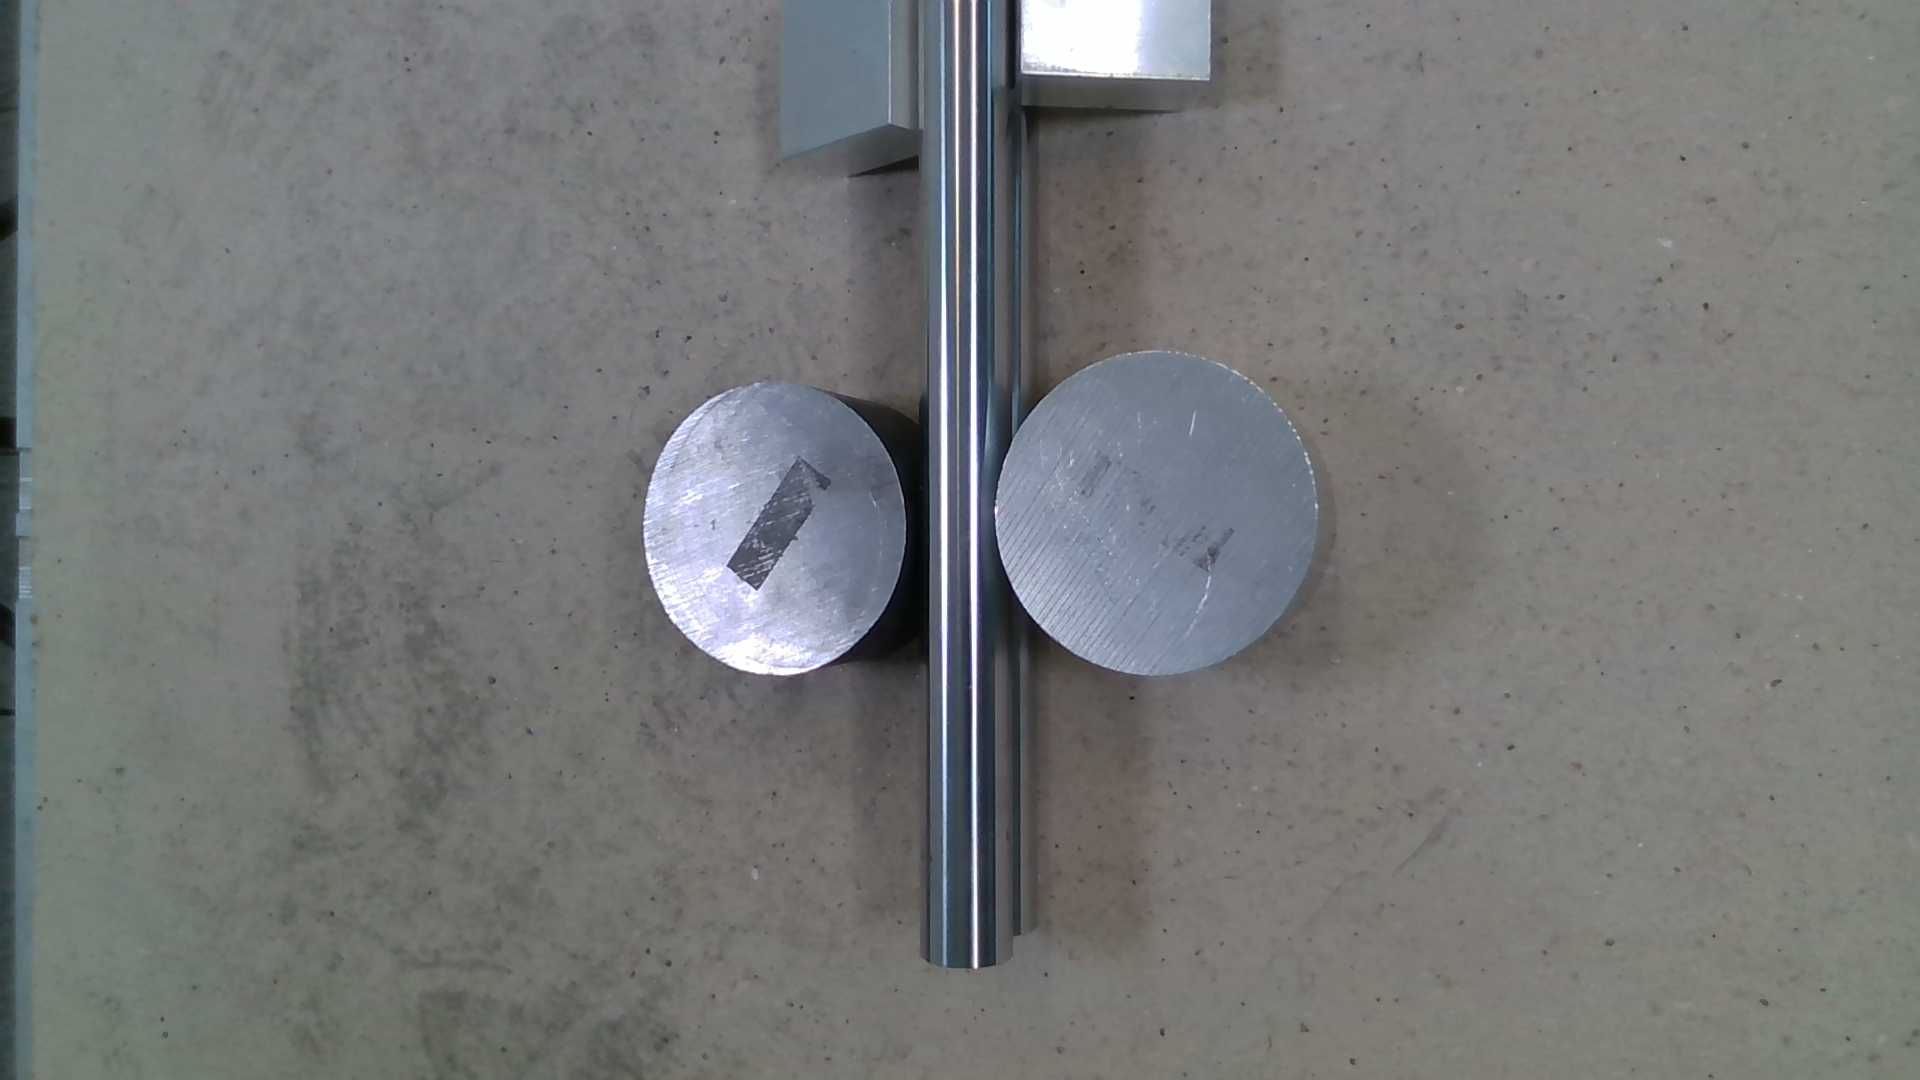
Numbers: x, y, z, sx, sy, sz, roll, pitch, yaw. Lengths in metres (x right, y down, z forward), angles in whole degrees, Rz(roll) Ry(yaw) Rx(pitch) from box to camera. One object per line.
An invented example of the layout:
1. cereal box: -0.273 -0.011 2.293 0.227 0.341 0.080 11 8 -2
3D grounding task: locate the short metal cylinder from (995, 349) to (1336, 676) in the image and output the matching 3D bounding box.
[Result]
1. short metal cylinder: 0.055 -0.007 0.360 0.080 0.050 0.080 0 90 20

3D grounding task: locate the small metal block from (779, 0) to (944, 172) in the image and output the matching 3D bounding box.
1. small metal block: -0.027 -0.136 0.392 0.050 0.025 0.050 1 91 47

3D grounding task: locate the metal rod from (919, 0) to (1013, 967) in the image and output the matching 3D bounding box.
1. metal rod: 0.002 -0.040 0.367 0.025 0.025 0.300 0 90 20

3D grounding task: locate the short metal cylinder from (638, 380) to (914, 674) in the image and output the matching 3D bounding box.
1. short metal cylinder: -0.044 -0.004 0.397 0.080 0.050 0.080 0 90 20

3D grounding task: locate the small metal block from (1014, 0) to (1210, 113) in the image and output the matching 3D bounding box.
1. small metal block: 0.039 -0.144 0.369 0.050 0.025 0.050 0 90 -7

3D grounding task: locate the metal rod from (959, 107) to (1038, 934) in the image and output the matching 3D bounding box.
1. metal rod: 0.009 -0.041 0.390 0.025 0.025 0.300 0 91 20
